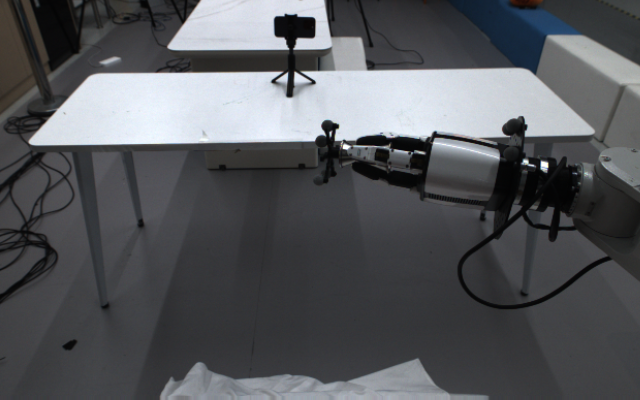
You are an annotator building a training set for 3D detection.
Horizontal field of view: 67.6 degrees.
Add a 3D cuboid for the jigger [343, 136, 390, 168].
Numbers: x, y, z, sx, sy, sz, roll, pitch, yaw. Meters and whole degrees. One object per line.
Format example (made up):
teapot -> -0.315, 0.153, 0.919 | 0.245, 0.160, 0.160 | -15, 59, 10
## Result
jigger -> 0.070, -0.064, 0.668 | 0.071, 0.043, 0.043 | 6, 35, 15
